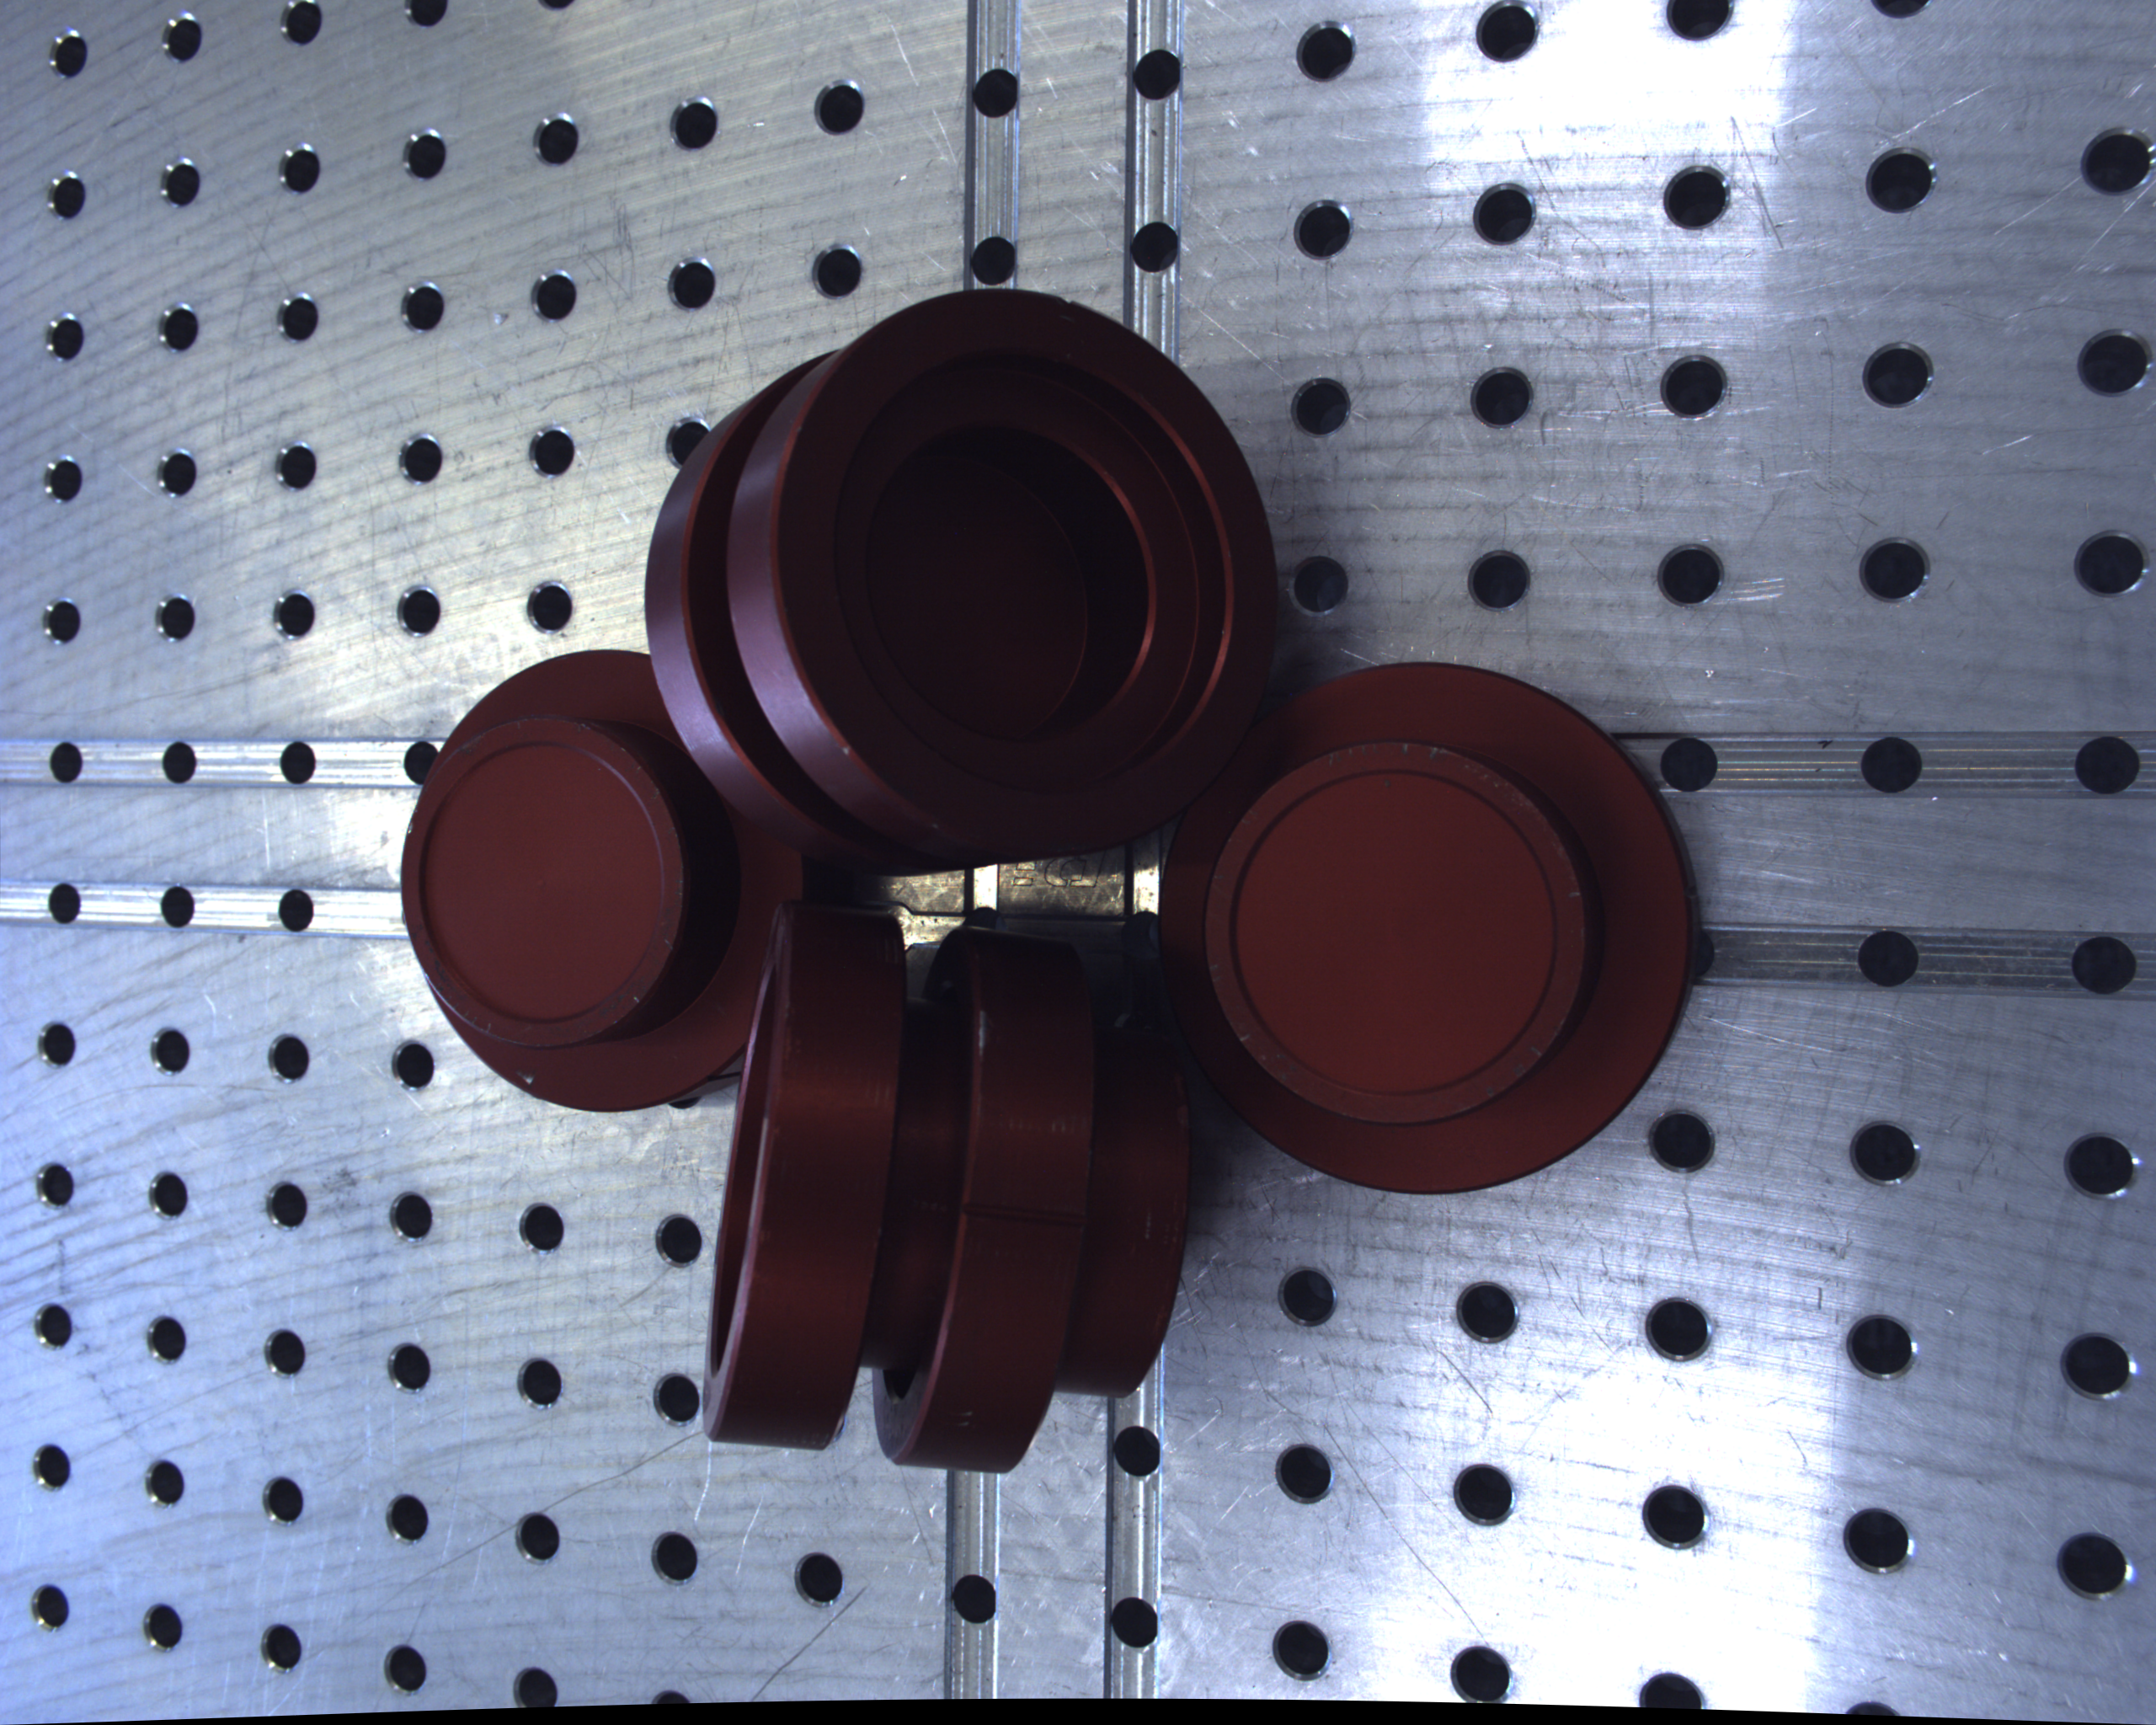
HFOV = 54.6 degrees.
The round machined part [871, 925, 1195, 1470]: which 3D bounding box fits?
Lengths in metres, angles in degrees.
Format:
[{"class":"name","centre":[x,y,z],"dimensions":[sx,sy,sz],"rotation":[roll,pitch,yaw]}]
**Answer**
[{"class":"round machined part","centre":[-0.009,0.063,0.387],"dimensions":[0.042,0.098,0.097],"rotation":[9,94,-12]}]

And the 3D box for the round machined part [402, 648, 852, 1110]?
[{"class":"round machined part","centre":[-0.101,0.004,0.439],"dimensions":[0.098,0.042,0.097],"rotation":[0,90,20]}]

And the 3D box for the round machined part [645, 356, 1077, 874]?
[{"class":"round machined part","centre":[-0.035,-0.046,0.399],"dimensions":[0.042,0.099,0.098],"rotation":[-9,86,60]}]

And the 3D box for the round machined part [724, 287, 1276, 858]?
[{"class":"round machined part","centre":[-0.017,-0.049,0.373],"dimensions":[0.042,0.099,0.098],"rotation":[-9,86,60]}]

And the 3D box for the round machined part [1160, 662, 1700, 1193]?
[{"class":"round machined part","centre":[0.062,0.012,0.382],"dimensions":[0.098,0.042,0.097],"rotation":[0,90,20]}]

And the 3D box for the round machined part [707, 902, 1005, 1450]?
[{"class":"round machined part","centre":[-0.041,0.058,0.384],"dimensions":[0.042,0.098,0.097],"rotation":[8,93,-12]}]
